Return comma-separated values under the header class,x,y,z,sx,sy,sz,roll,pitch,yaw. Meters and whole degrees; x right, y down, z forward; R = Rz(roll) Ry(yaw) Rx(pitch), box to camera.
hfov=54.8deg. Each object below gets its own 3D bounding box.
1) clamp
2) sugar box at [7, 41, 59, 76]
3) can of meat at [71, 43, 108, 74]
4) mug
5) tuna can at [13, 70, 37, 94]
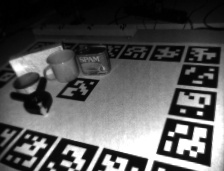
class,x,y,z,sx,sy,sz,roll,pitch,yaw
clamp,-0.238,0.038,0.643,0.123,0.037,0.163,-27,45,-21
sugar box,-0.257,-0.084,0.748,0.177,0.093,0.045,-18,38,-7
can of meat,-0.069,-0.085,0.700,0.101,0.084,0.058,1,41,16
mug,-0.180,-0.067,0.700,0.118,0.082,0.092,-39,46,-24
tuna can,-0.288,-0.010,0.706,0.085,0.034,0.085,-8,41,8
